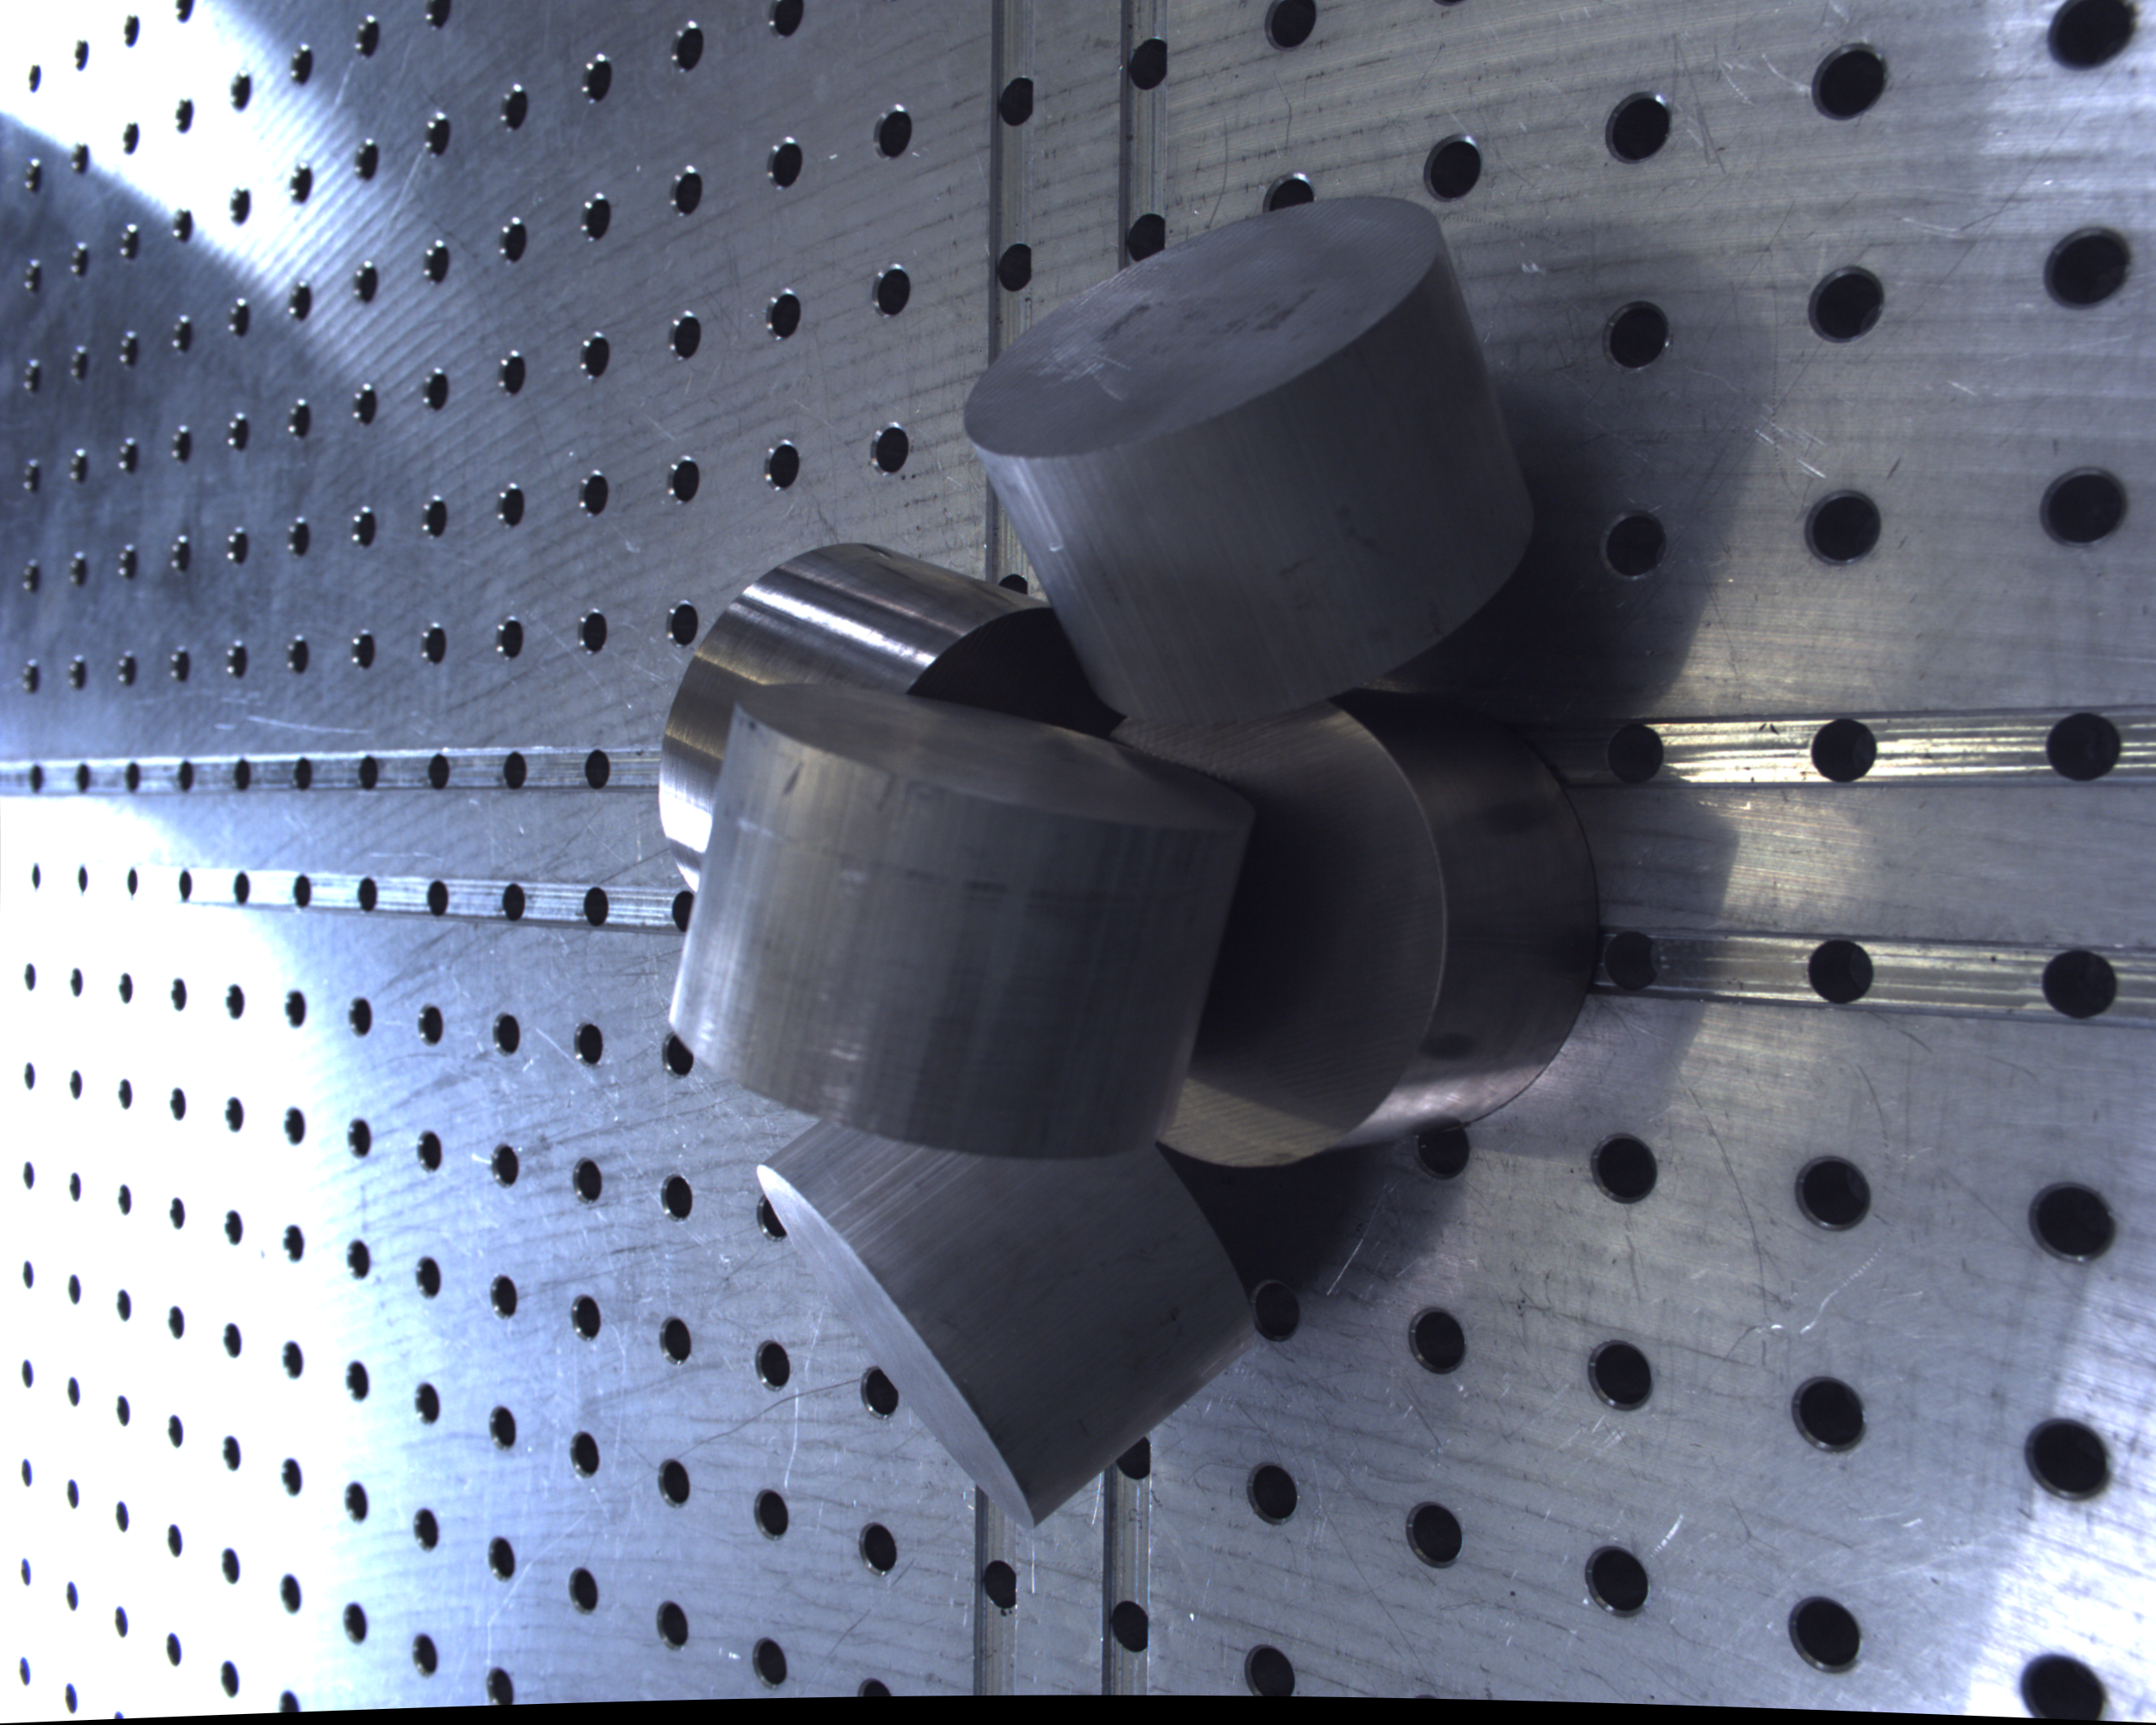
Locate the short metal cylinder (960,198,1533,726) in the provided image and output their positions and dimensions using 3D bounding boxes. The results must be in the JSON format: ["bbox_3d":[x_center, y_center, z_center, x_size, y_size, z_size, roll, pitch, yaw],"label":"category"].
[{"bbox_3d":[0.028,-0.066,0.341,0.080,0.080,0.050,3,132,40],"label":"short metal cylinder"}]

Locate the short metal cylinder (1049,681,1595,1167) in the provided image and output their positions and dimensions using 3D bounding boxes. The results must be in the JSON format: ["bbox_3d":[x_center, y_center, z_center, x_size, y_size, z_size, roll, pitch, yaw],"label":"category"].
[{"bbox_3d":[0.040,0.010,0.359,0.080,0.050,0.080,-1,88,40],"label":"short metal cylinder"}]

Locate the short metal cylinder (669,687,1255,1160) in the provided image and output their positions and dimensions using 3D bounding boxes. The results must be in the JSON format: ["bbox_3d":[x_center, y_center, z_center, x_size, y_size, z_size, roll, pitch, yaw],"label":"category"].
[{"bbox_3d":[-0.018,0.007,0.322,0.080,0.081,0.050,22,104,38],"label":"short metal cylinder"}]

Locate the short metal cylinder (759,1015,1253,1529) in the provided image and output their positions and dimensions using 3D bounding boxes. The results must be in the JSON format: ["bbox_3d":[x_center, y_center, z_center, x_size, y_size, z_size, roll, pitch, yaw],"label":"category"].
[{"bbox_3d":[-0.014,0.072,0.377,0.080,0.050,0.080,46,160,23],"label":"short metal cylinder"}]

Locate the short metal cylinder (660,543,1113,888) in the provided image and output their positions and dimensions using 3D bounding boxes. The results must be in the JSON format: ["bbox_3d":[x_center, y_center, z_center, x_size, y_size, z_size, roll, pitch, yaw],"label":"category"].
[{"bbox_3d":[-0.032,-0.016,0.400,0.050,0.081,0.079,24,105,37],"label":"short metal cylinder"}]
